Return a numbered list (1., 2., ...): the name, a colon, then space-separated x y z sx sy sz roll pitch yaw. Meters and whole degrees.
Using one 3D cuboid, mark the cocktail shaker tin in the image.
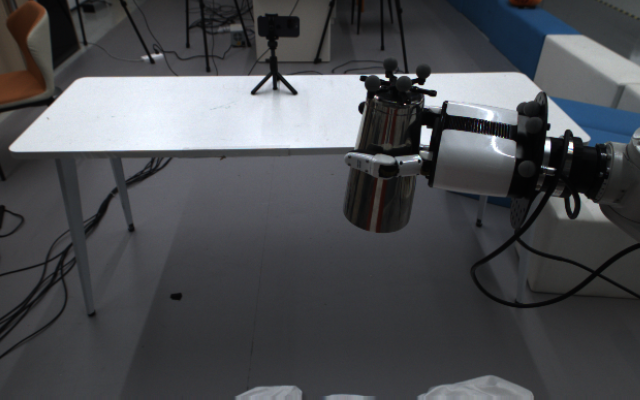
1. cocktail shaker tin: 0.084 -0.055 0.602 0.093 0.170 0.093 3 36 -2
